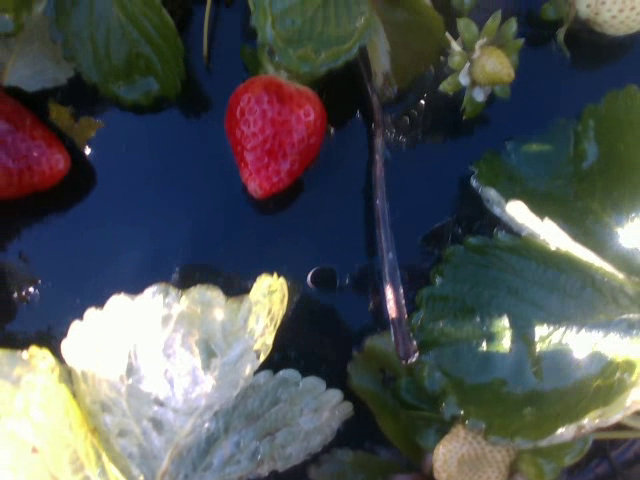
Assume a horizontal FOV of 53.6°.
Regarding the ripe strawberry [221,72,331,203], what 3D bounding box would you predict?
[{"bbox_3d":[-0.014,-0.032,0.201,0.039,0.047,0.040,9,-7,-11],"label":"ripe strawberry"}]
